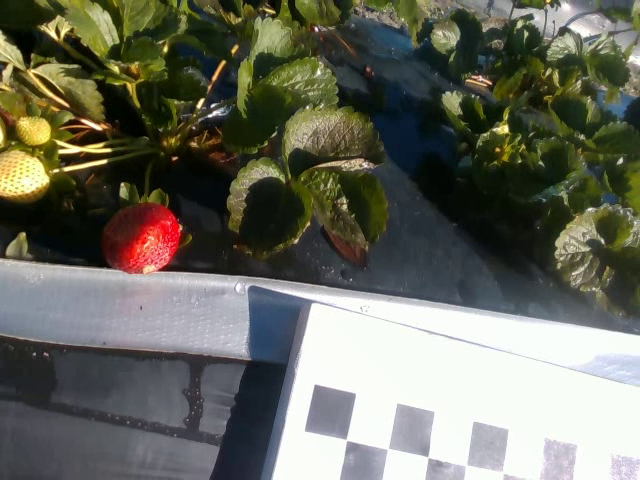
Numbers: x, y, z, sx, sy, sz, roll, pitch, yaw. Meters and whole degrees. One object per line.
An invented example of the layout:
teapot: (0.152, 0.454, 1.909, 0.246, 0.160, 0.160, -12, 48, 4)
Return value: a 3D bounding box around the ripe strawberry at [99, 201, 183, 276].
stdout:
ripe strawberry: (-0.075, 0.001, 0.248, 0.036, 0.038, 0.045, 13, 1, -12)
